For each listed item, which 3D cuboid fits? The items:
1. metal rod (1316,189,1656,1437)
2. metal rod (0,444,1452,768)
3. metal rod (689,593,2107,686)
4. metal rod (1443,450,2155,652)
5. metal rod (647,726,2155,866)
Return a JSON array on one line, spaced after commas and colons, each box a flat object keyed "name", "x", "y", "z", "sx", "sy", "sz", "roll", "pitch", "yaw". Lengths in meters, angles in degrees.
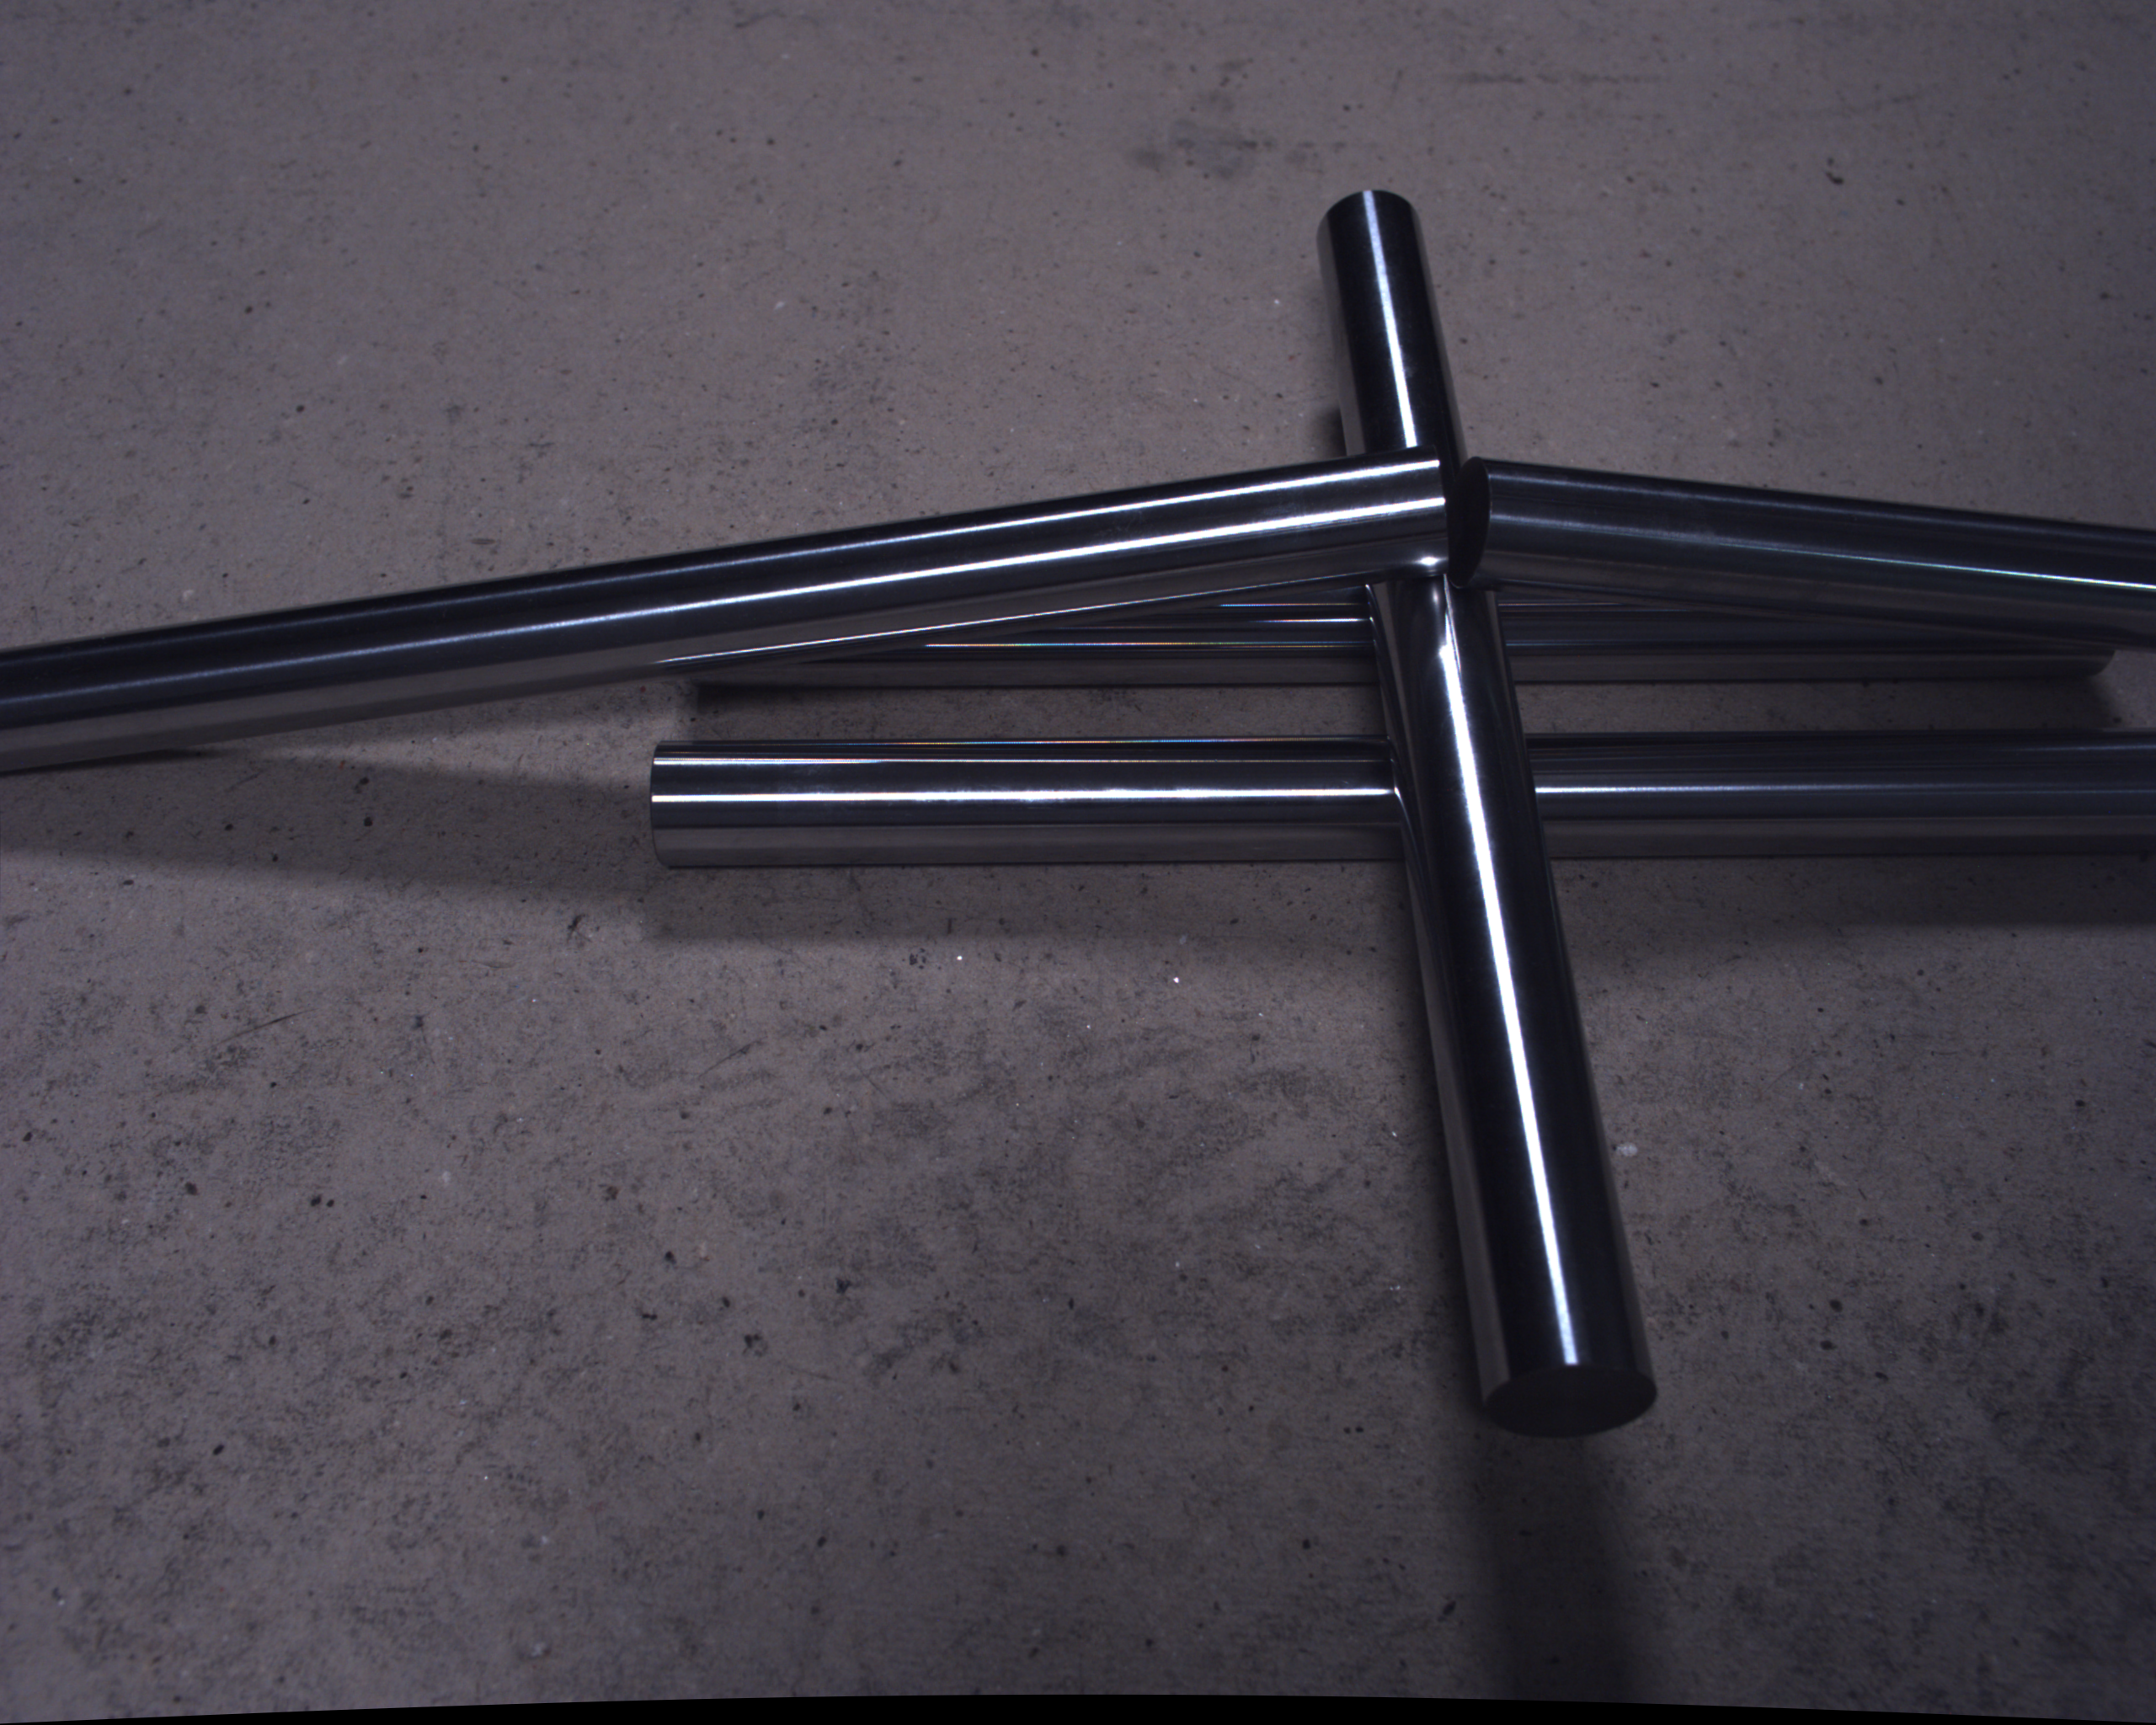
[{"name": "metal rod", "x": 0.071, "y": -0.036, "z": 0.403, "sx": 0.025, "sy": 0.025, "sz": 0.300, "roll": 0, "pitch": 50, "yaw": -1}, {"name": "metal rod", "x": -0.080, "y": -0.049, "z": 0.412, "sx": 0.302, "sy": 0.025, "sz": 0.025, "roll": -7, "pitch": 50, "yaw": 6}, {"name": "metal rod", "x": 0.068, "y": -0.052, "z": 0.448, "sx": 0.302, "sy": 0.025, "sz": 0.025, "roll": -1, "pitch": 50, "yaw": -1}, {"name": "metal rod", "x": 0.221, "y": -0.055, "z": 0.421, "sx": 0.302, "sy": 0.025, "sz": 0.025, "roll": 4, "pitch": 50, "yaw": -10}, {"name": "metal rod", "x": 0.068, "y": -0.013, "z": 0.416, "sx": 0.302, "sy": 0.025, "sz": 0.025, "roll": -1, "pitch": 50, "yaw": -1}]
